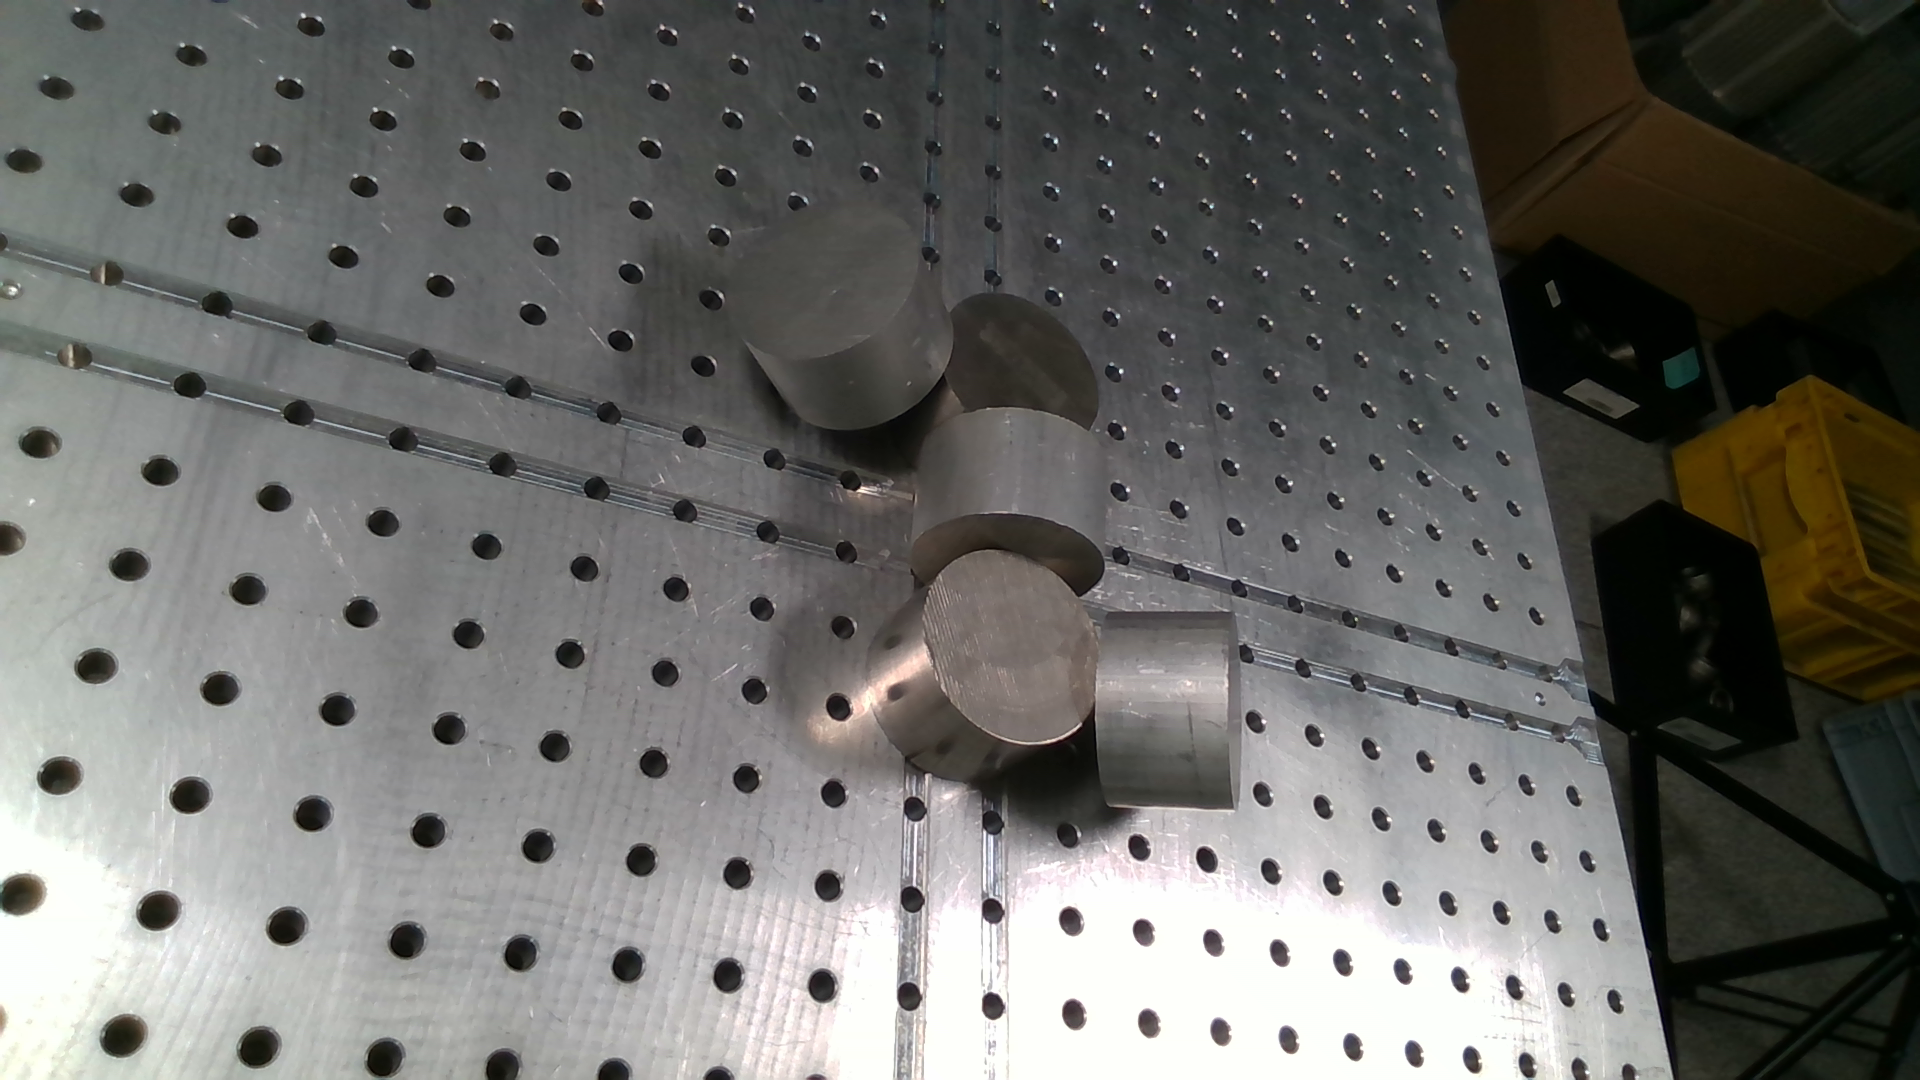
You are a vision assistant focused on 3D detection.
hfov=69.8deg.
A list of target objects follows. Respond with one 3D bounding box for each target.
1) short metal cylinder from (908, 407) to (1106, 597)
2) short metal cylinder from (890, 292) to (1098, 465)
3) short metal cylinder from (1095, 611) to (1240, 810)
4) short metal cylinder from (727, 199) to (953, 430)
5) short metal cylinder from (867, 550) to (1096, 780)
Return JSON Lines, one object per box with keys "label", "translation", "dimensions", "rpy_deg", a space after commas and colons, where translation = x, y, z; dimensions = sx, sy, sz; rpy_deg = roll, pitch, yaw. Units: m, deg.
{"label": "short metal cylinder", "translation": [0.020, -0.011, 0.572], "dimensions": [0.080, 0.080, 0.050], "rpy_deg": [19, 57, -22]}
{"label": "short metal cylinder", "translation": [0.014, -0.063, 0.615], "dimensions": [0.080, 0.050, 0.080], "rpy_deg": [14, 59, -25]}
{"label": "short metal cylinder", "translation": [0.086, 0.069, 0.561], "dimensions": [0.050, 0.080, 0.080], "rpy_deg": [-1, 57, 15]}
{"label": "short metal cylinder", "translation": [-0.048, -0.092, 0.566], "dimensions": [0.080, 0.050, 0.080], "rpy_deg": [-8, 60, 13]}
{"label": "short metal cylinder", "translation": [0.009, 0.051, 0.551], "dimensions": [0.080, 0.050, 0.080], "rpy_deg": [14, 59, -25]}
